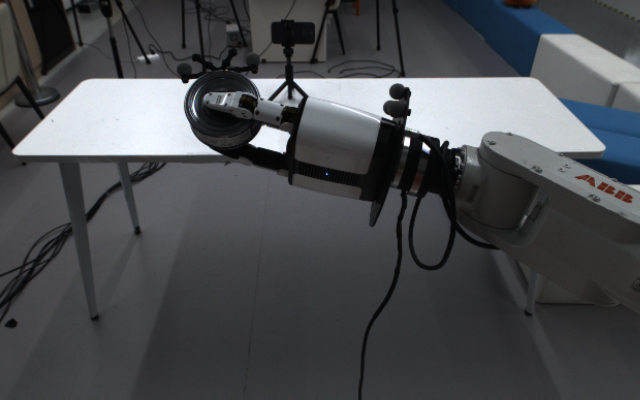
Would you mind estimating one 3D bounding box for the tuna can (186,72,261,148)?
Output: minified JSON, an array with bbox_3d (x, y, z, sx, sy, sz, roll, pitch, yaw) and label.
[{"bbox_3d":[-0.104,-0.097,0.544,0.085,0.034,0.085,0,72,-1],"label":"tuna can"}]
